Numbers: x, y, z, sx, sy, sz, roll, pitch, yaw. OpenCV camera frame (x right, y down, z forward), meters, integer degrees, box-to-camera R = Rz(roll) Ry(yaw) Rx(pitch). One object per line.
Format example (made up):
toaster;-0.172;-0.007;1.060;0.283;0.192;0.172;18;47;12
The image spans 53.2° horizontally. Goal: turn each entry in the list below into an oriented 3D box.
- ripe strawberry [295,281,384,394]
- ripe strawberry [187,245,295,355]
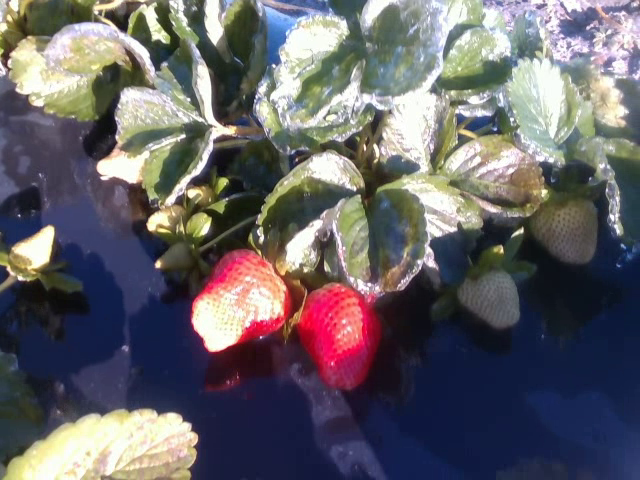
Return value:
ripe strawberry;0.009;0.046;0.318;0.043;0.059;0.040;-9;-28;-5
ripe strawberry;-0.042;0.037;0.332;0.052;0.070;0.040;37;-27;6
